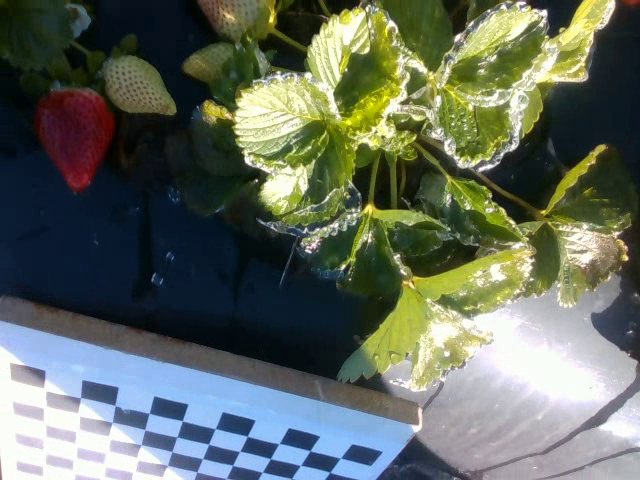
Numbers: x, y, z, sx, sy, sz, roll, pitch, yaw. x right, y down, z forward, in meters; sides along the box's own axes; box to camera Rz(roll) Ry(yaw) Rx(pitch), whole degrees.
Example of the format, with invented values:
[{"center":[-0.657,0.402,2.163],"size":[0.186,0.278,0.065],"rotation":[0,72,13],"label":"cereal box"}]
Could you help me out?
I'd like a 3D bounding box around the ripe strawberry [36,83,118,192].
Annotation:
[{"center":[-0.115,-0.045,0.283],"size":[0.040,0.053,0.042],"rotation":[-12,-23,13],"label":"ripe strawberry"}]
